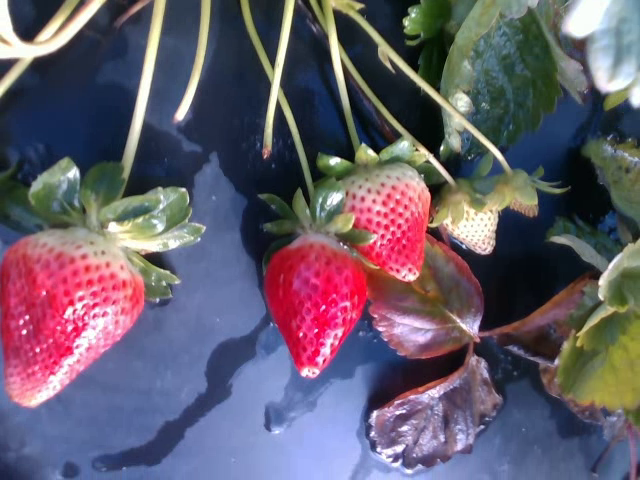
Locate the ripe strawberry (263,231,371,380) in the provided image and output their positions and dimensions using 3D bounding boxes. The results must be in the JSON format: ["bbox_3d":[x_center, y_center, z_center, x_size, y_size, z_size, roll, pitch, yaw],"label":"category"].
[{"bbox_3d":[-0.005,0.026,0.227,0.044,0.055,0.042,-4,-23,19],"label":"ripe strawberry"}]

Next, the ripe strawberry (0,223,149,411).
[{"bbox_3d":[-0.087,0.026,0.203,0.050,0.065,0.050,17,-22,8],"label":"ripe strawberry"}]
